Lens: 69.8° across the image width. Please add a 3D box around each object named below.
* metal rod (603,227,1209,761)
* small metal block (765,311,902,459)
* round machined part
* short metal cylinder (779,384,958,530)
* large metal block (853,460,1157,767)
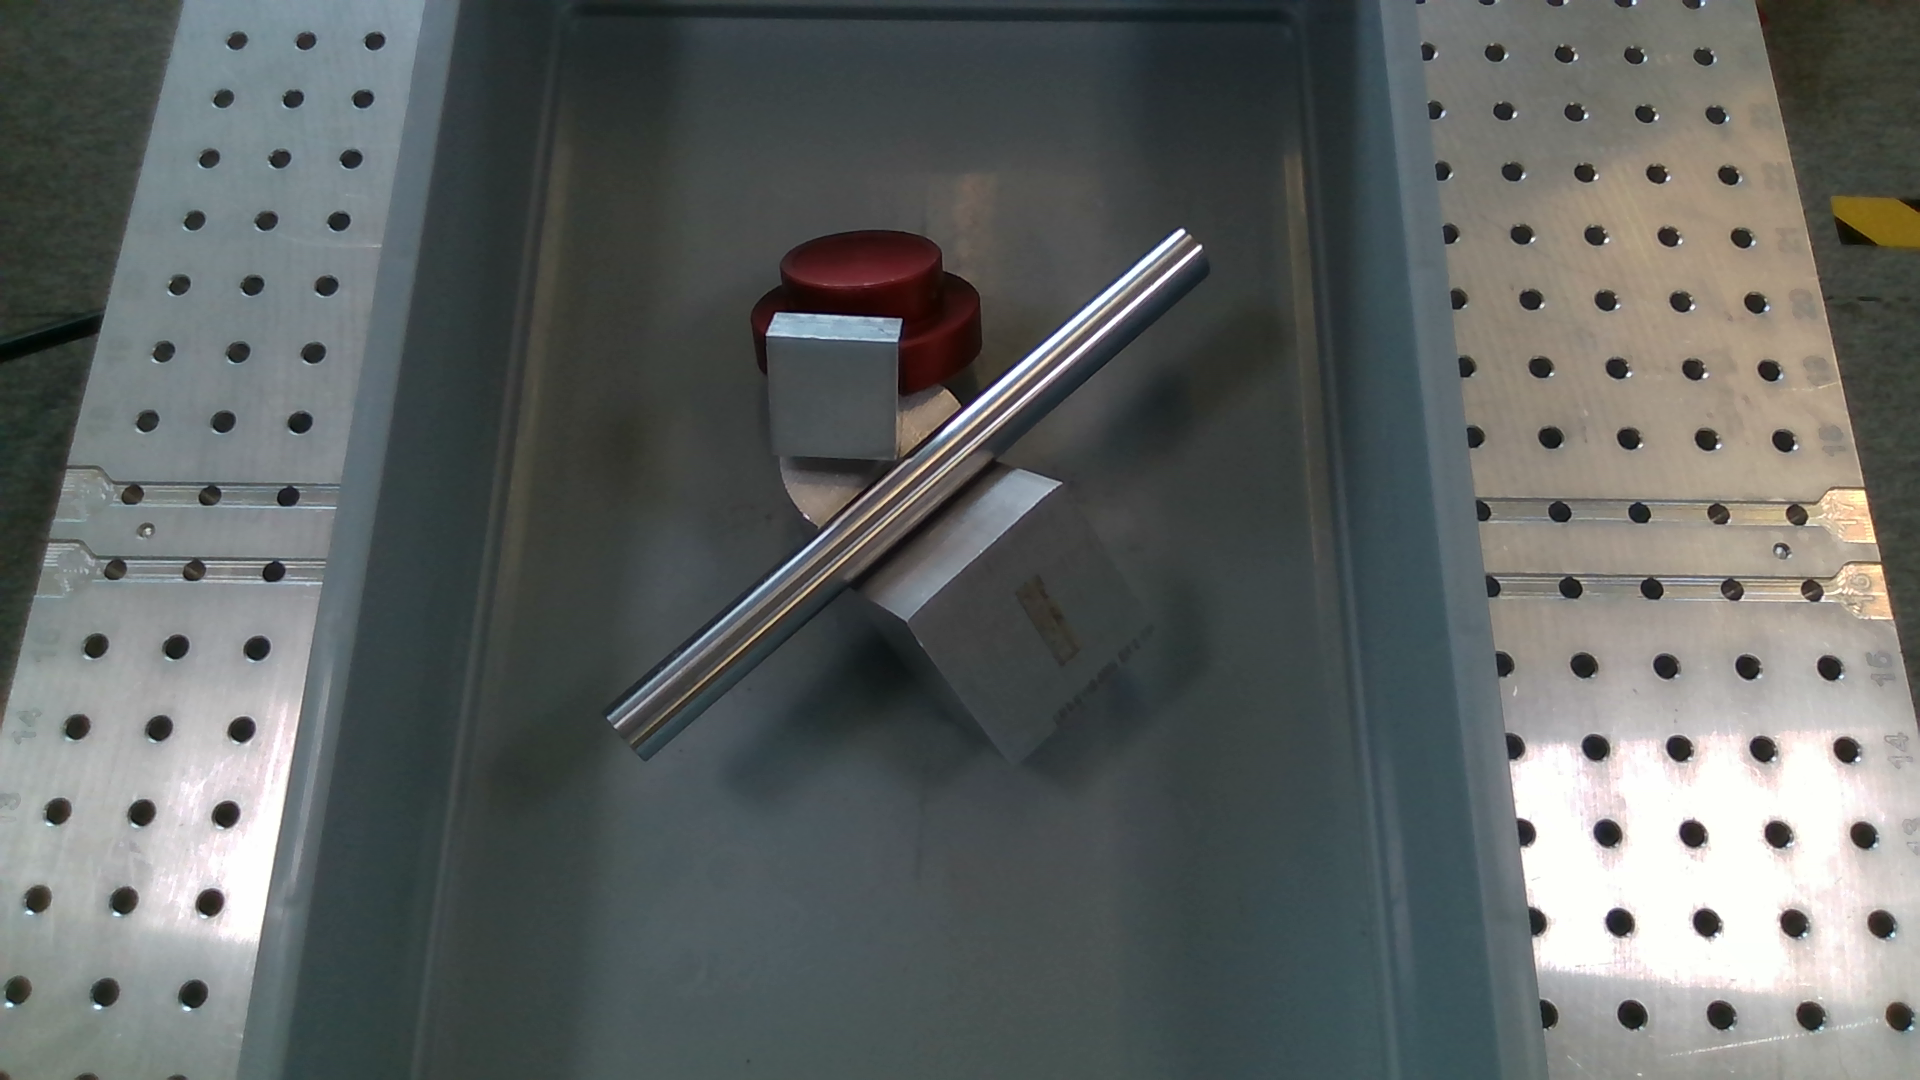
[{"bbox_3d":[-0.014,-0.024,0.542,0.300,0.025,0.025,-41,75,-13],"label":"metal rod"},{"bbox_3d":[-0.049,-0.061,0.540,0.050,0.050,0.025,3,30,1],"label":"small metal block"},{"bbox_3d":[-0.041,-0.101,0.587,0.098,0.042,0.098,-3,32,2],"label":"round machined part"},{"bbox_3d":[-0.034,-0.028,0.583,0.080,0.050,0.080,0,70,0],"label":"short metal cylinder"},{"bbox_3d":[0.017,0.027,0.541,0.080,0.050,0.080,-42,118,-13],"label":"large metal block"}]
